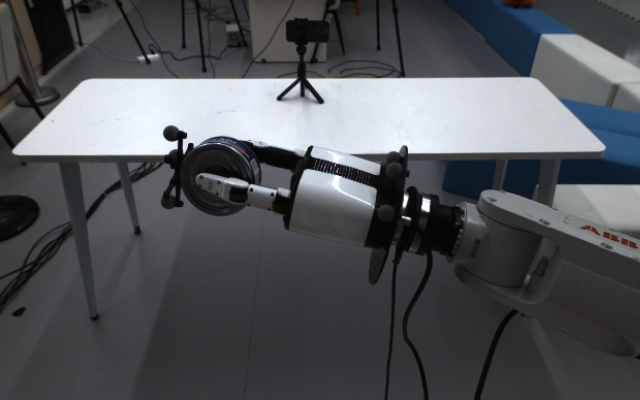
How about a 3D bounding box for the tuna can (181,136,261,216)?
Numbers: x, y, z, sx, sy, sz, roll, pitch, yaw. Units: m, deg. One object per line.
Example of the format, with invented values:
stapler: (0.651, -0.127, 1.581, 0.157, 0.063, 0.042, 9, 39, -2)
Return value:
tuna can: (-0.108, -0.027, 0.542, 0.085, 0.085, 0.034, 4, 18, 3)
